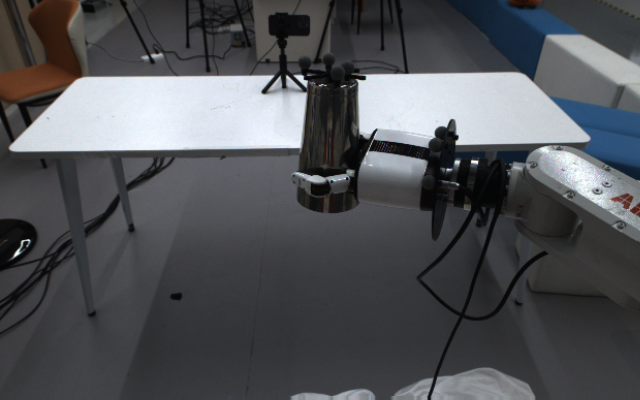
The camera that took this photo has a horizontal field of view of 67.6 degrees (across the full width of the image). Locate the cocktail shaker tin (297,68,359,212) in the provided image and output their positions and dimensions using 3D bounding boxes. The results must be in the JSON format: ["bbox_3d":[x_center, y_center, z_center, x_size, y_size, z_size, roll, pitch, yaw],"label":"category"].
[{"bbox_3d":[0.015,-0.079,0.661,0.093,0.170,0.093,1,28,-1],"label":"cocktail shaker tin"}]
